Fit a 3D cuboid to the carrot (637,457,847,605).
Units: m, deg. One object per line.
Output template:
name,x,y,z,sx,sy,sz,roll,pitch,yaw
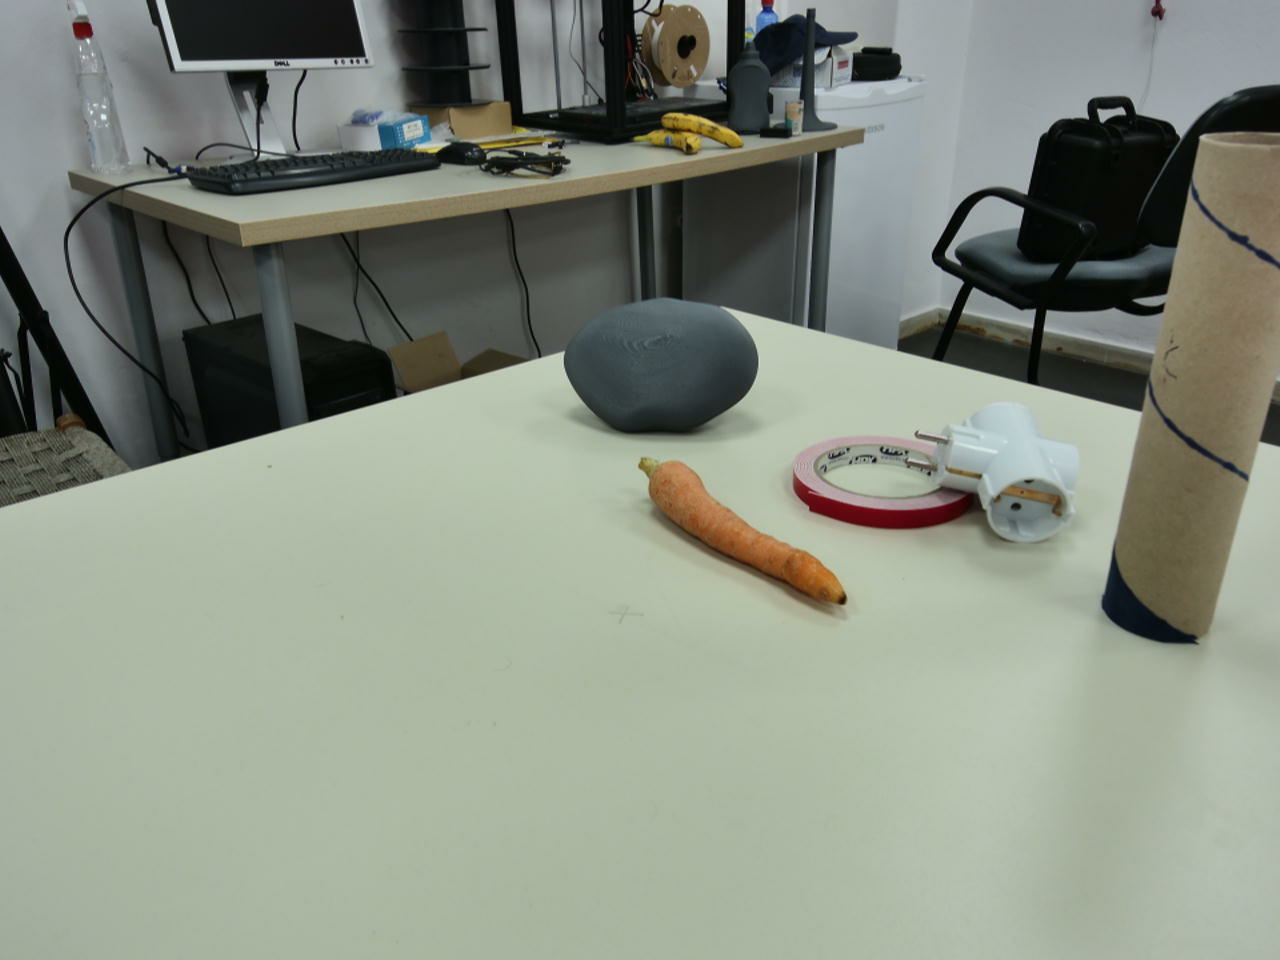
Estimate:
carrot,0.051,0.025,0.550,0.030,0.032,0.173,-14,27,-29
